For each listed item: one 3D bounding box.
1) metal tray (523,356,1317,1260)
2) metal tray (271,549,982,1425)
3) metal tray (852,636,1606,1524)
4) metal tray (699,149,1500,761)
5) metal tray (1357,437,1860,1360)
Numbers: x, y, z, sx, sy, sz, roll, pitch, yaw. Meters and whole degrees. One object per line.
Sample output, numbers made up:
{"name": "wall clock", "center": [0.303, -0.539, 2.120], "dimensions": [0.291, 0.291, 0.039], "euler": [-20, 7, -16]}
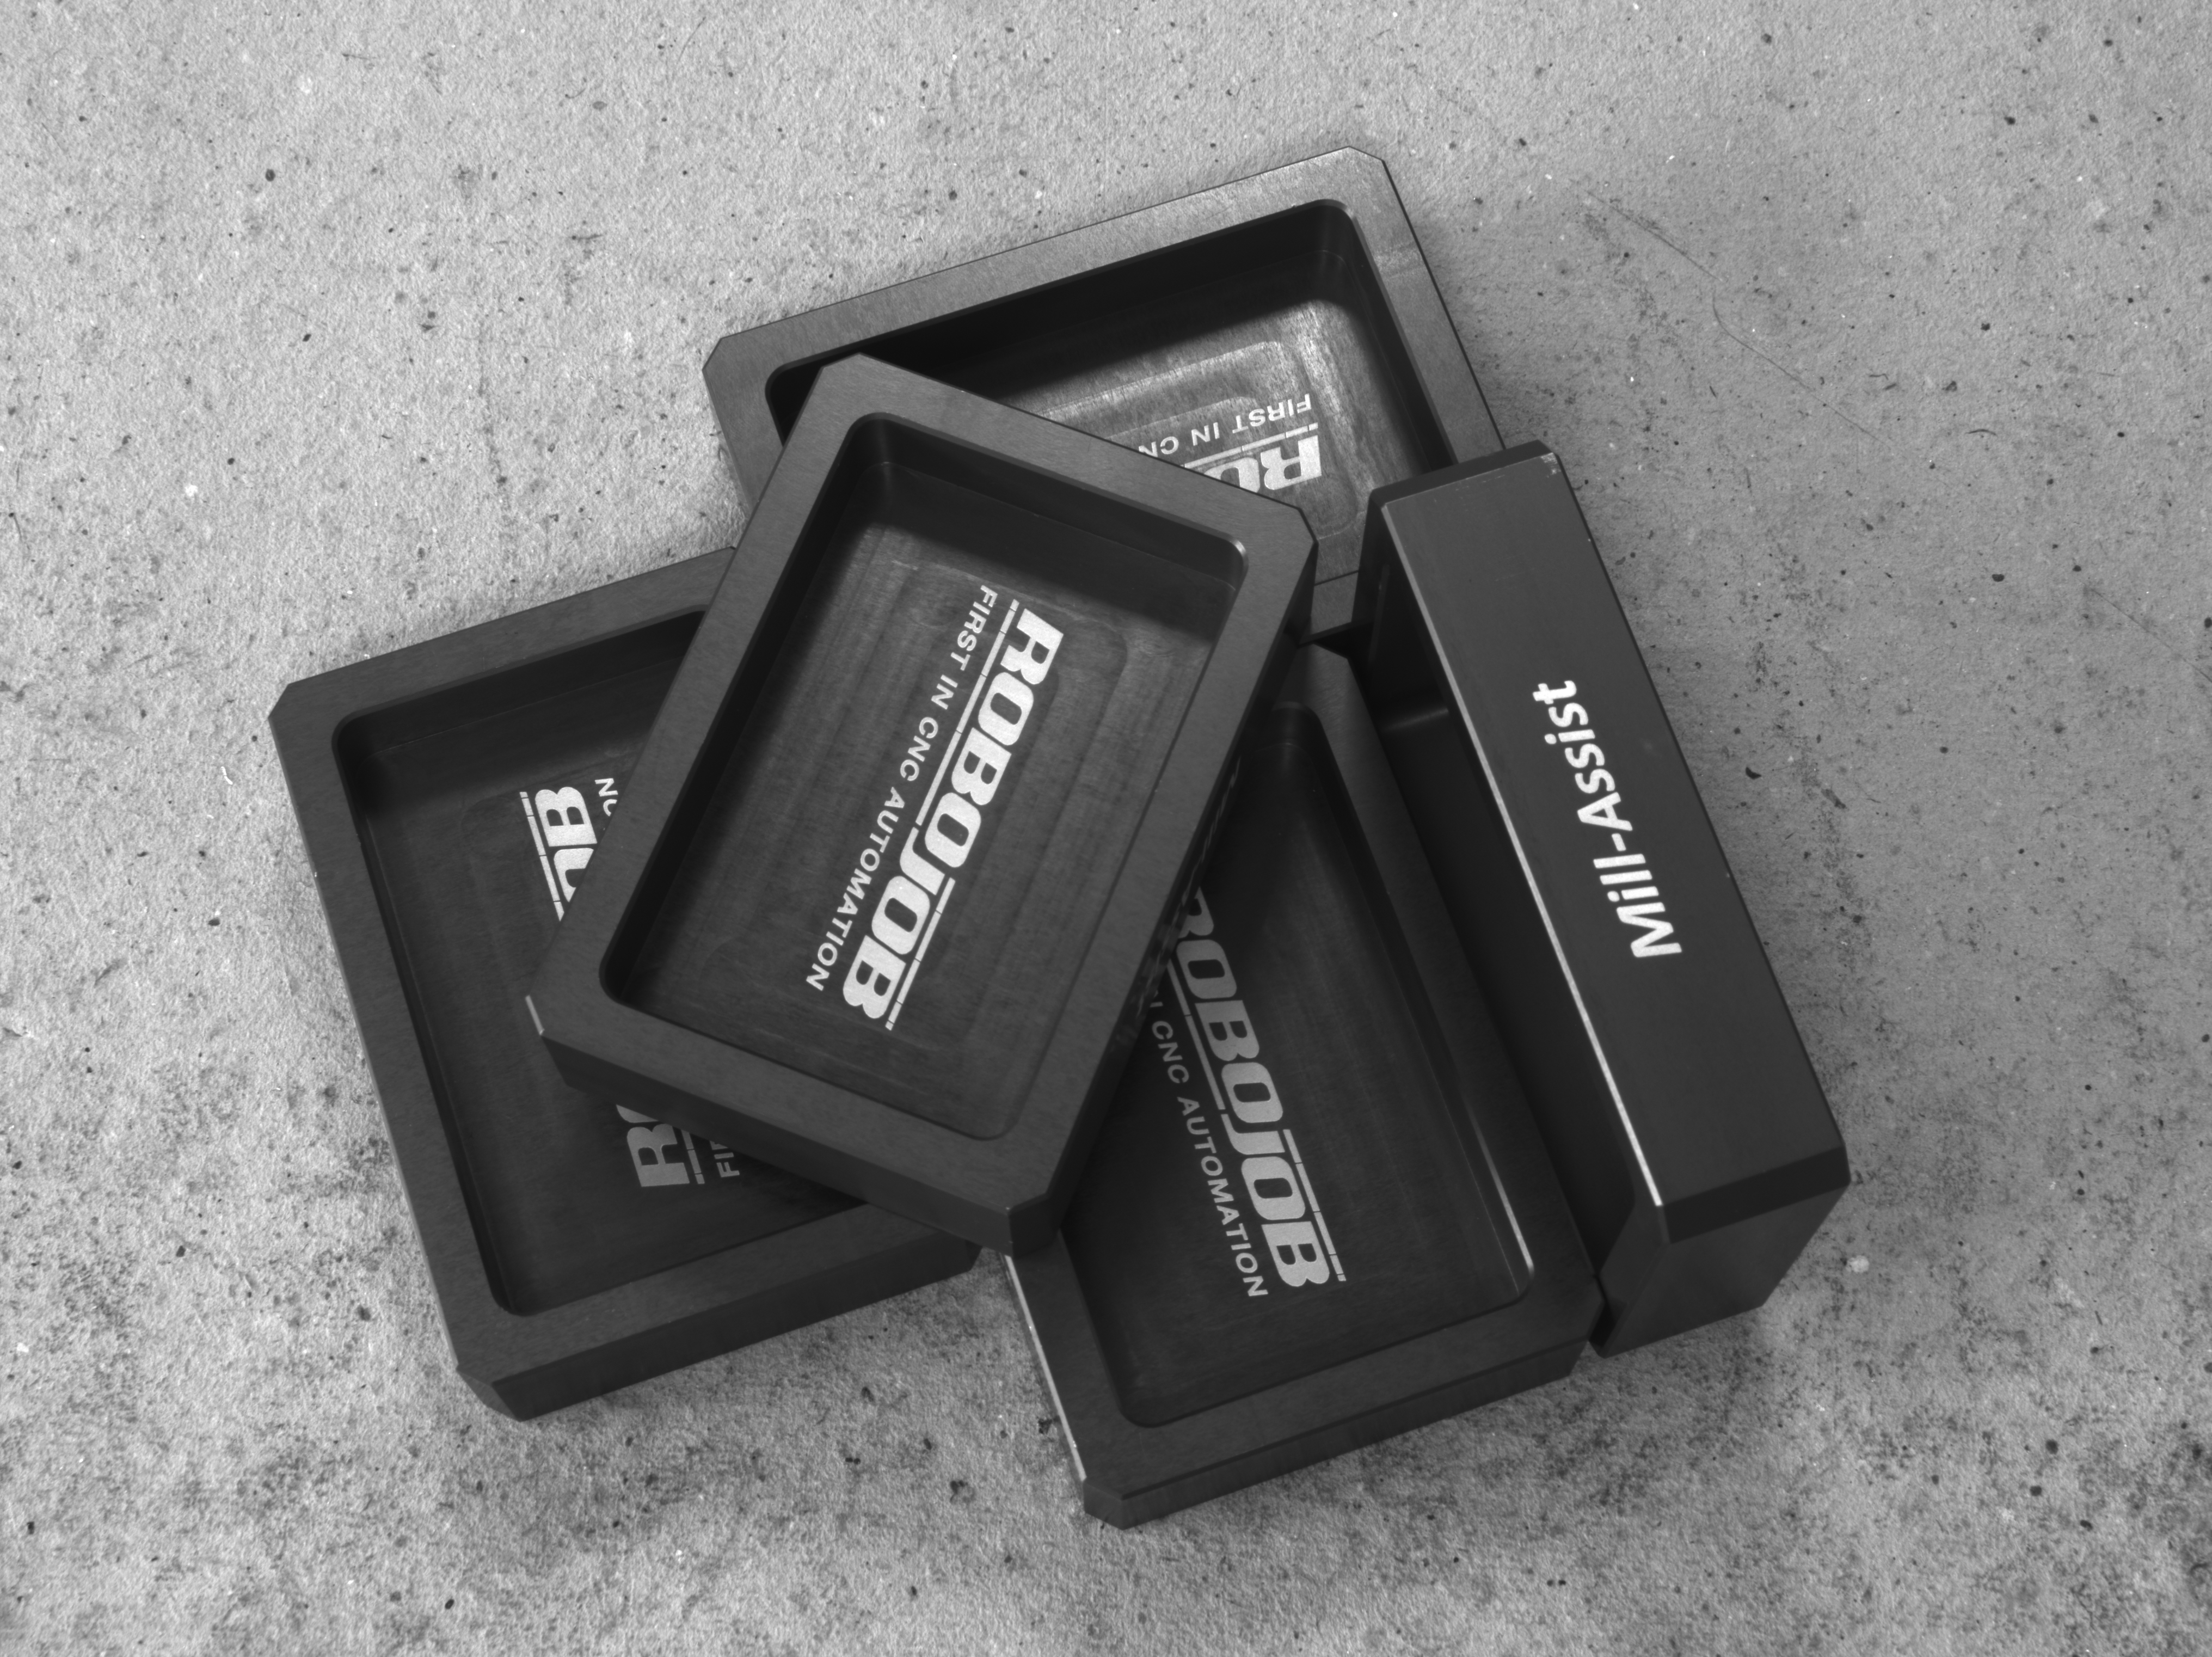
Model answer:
{"name": "metal tray", "center": [-0.029, -0.005, 0.614], "dimensions": [0.090, 0.030, 0.130], "euler": [20, 72, 8]}
{"name": "metal tray", "center": [-0.082, 0.026, 0.633], "dimensions": [0.090, 0.030, 0.130], "euler": [-18, 70, -6]}
{"name": "metal tray", "center": [0.019, 0.042, 0.626], "dimensions": [0.090, 0.030, 0.130], "euler": [-18, 72, -5]}
{"name": "metal tray", "center": [0.002, -0.061, 0.666], "dimensions": [0.130, 0.030, 0.090], "euler": [-18, 71, -6]}
{"name": "metal tray", "center": [0.078, 0.013, 0.604], "dimensions": [0.030, 0.090, 0.130], "euler": [-17, 71, -6]}
